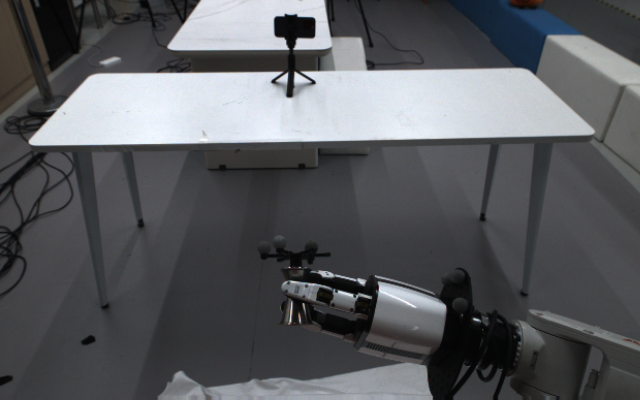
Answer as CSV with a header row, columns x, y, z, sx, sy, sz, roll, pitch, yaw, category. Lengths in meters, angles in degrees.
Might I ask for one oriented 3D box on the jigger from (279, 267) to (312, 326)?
x,y,z,sx,sy,sz,roll,pitch,yaw,category
-0.029,0.117,0.595,0.043,0.043,0.071,0,75,-3,jigger
